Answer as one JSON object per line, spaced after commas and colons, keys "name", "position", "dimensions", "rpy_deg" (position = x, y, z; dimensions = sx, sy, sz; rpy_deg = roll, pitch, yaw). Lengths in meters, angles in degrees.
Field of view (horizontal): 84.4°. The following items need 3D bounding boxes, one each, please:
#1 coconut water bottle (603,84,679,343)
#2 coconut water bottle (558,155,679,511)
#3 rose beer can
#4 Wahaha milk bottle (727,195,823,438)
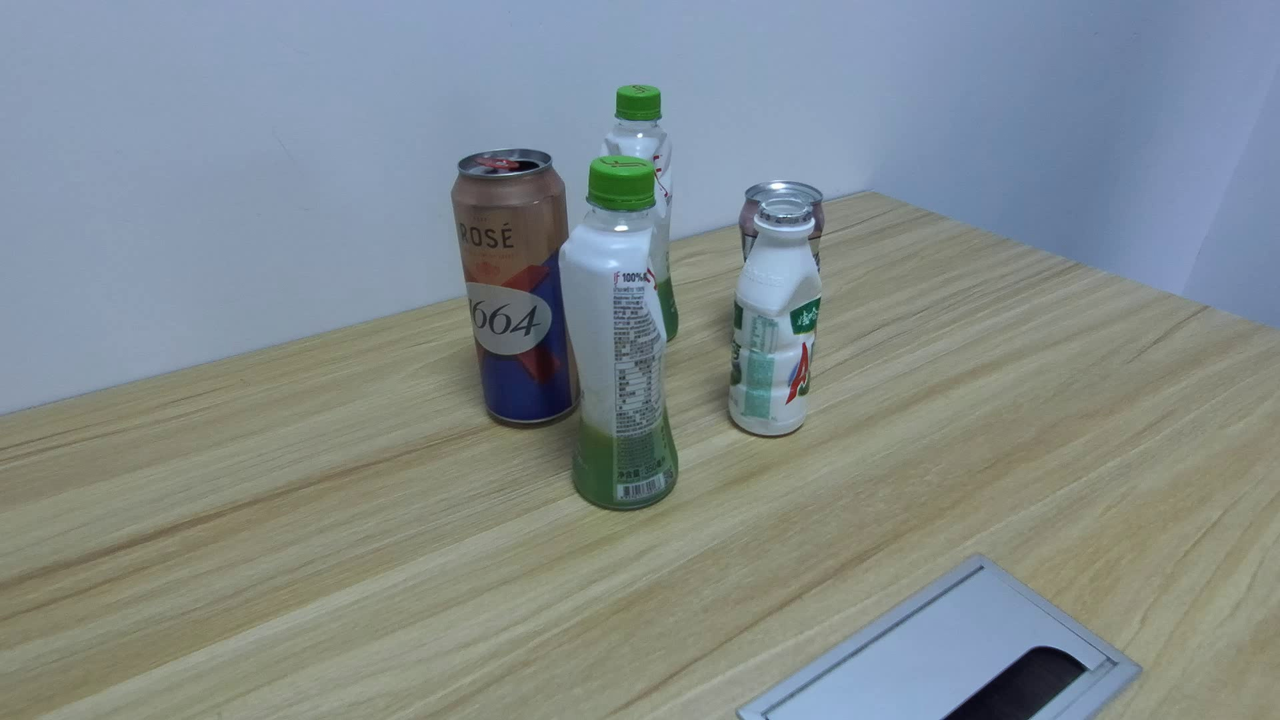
{"name": "coconut water bottle", "position": [0.001, -0.105, 0.531], "dimensions": [0.067, 0.187, 0.067], "rpy_deg": [-1, 31, 1]}
{"name": "coconut water bottle", "position": [-0.010, -0.011, 0.375], "dimensions": [0.069, 0.187, 0.069], "rpy_deg": [-1, 29, 1]}
{"name": "rose beer can", "position": [-0.075, -0.042, 0.452], "dimensions": [0.068, 0.169, 0.068], "rpy_deg": [0, 32, 0]}
{"name": "Wahaha milk bottle", "position": [0.083, -0.023, 0.430], "dimensions": [0.056, 0.148, 0.056], "rpy_deg": [0, 30, 0]}
